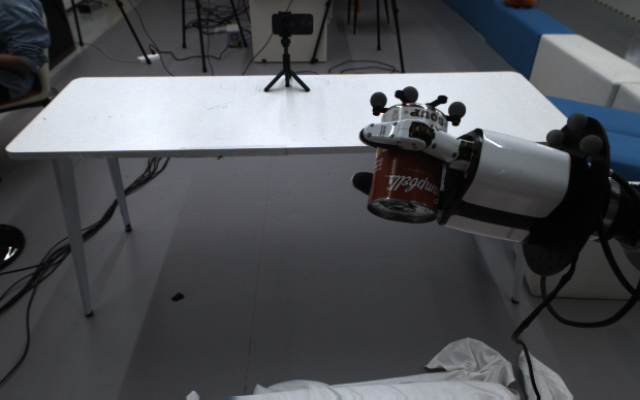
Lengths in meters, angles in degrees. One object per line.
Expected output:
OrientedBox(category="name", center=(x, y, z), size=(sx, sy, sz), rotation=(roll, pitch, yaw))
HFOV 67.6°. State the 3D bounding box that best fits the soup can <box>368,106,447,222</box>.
OrientedBox(category="soup can", center=(0.090, -0.035, 0.476), size=(0.067, 0.067, 0.101), rotation=(8, 72, 9))
